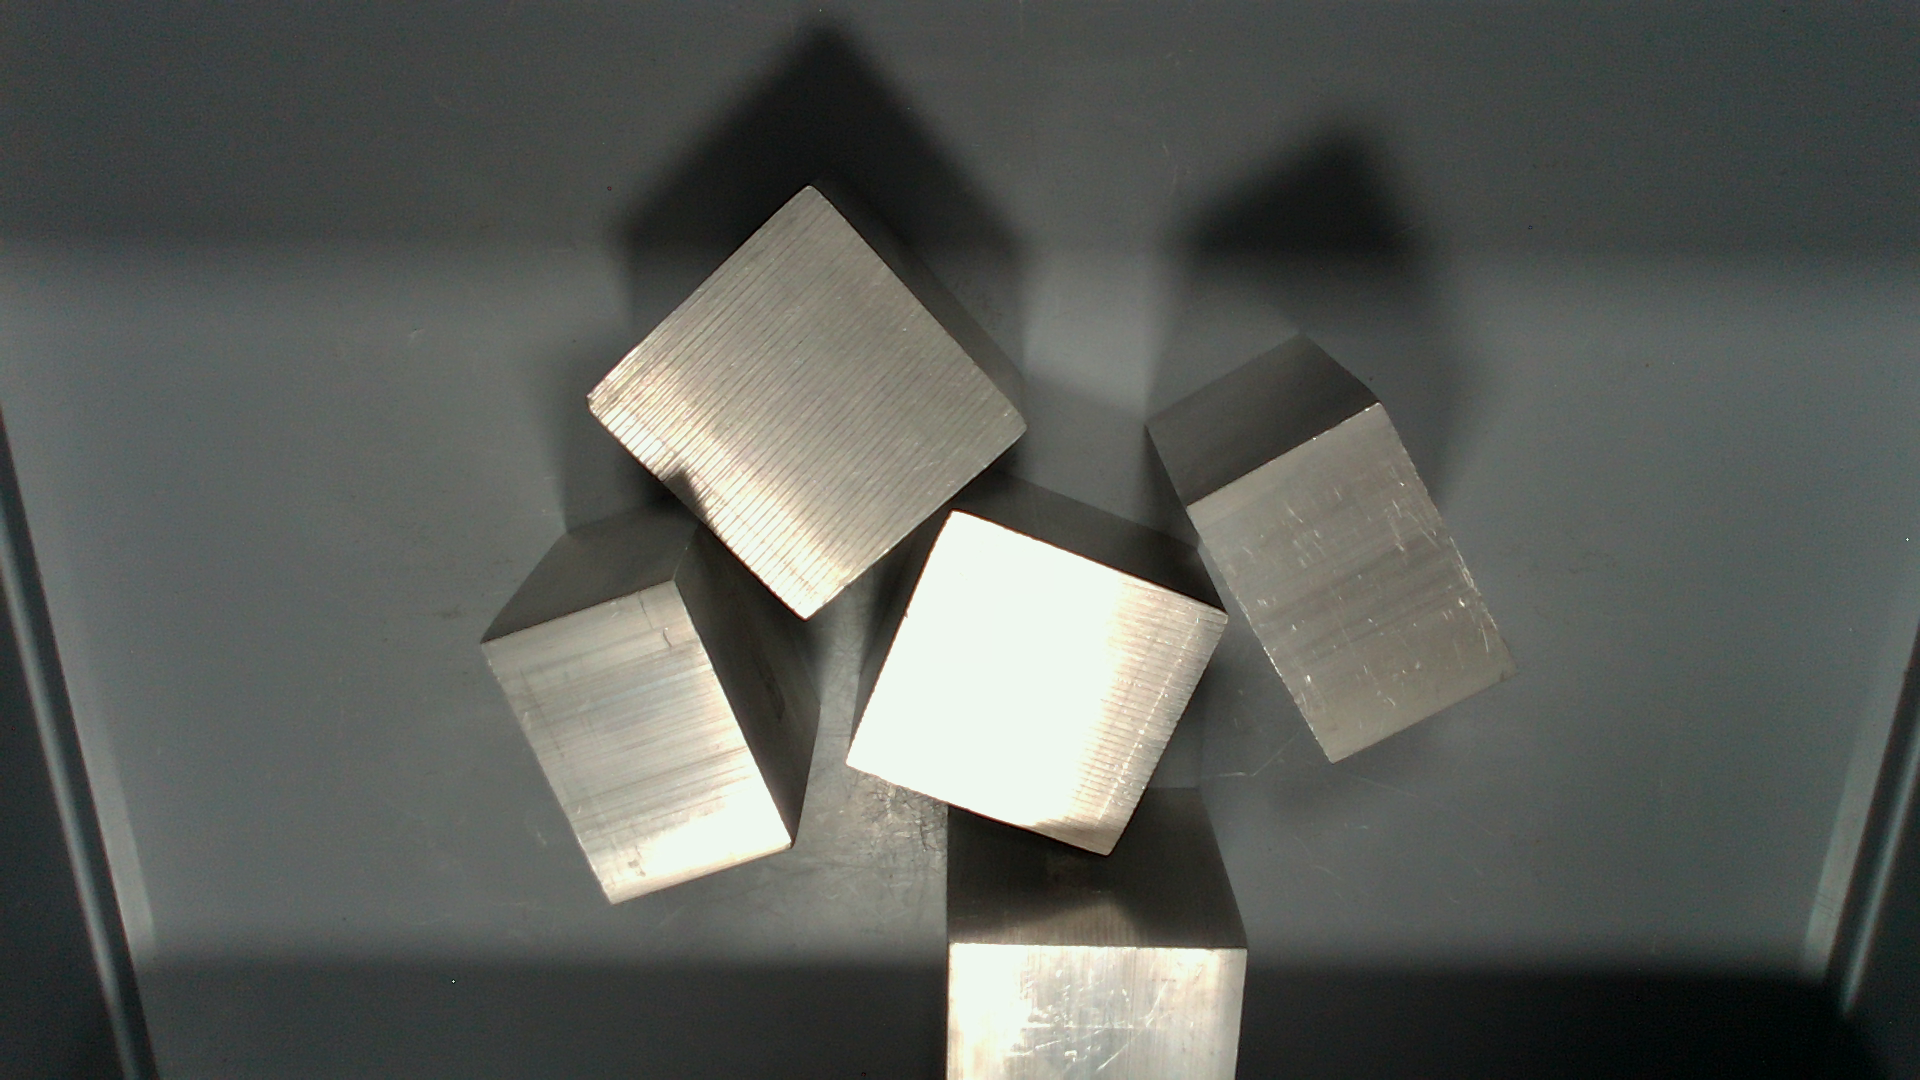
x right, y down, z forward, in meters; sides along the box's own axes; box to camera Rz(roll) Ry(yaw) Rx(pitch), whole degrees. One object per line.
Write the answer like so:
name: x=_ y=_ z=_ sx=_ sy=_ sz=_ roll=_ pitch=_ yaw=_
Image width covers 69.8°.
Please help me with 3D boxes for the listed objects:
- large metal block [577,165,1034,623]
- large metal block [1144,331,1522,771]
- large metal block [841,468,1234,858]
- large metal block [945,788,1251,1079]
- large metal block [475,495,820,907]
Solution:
large metal block: x=-0.038 y=-0.040 z=0.364 sx=0.080 sy=0.050 sz=0.080 roll=-40 pitch=105 yaw=13
large metal block: x=0.094 y=-0.001 z=0.363 sx=0.050 sy=0.080 sz=0.080 roll=-29 pitch=108 yaw=10
large metal block: x=0.020 y=0.032 z=0.392 sx=0.080 sy=0.050 sz=0.080 roll=21 pitch=109 yaw=-8
large metal block: x=0.036 y=0.116 z=0.407 sx=0.080 sy=0.080 sz=0.050 roll=1 pitch=110 yaw=0
large metal block: x=-0.079 y=0.038 z=0.377 sx=0.050 sy=0.080 sz=0.080 roll=-18 pitch=109 yaw=6
